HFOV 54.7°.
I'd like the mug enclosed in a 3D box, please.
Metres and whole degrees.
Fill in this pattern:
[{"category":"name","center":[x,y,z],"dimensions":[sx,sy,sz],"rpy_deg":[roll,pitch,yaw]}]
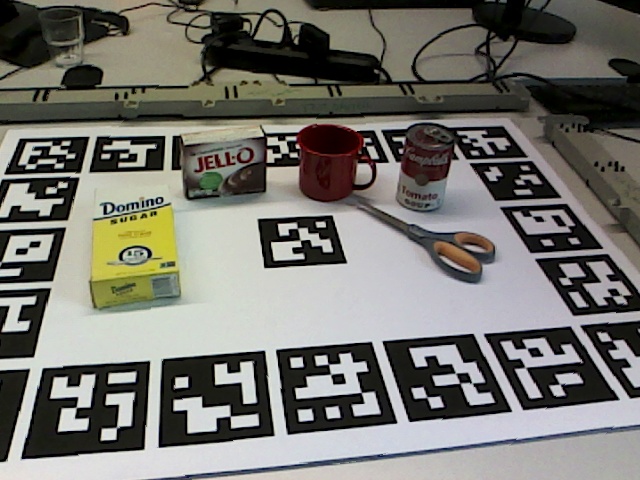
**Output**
[{"category":"mug","center":[0.021,-0.109,0.868],"dimensions":[0.093,0.081,0.118],"rpy_deg":[-33,51,-32]}]

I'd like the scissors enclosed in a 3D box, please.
[{"category":"scissors","center":[0.132,-0.002,0.800],"dimensions":[0.204,0.016,0.087],"rpy_deg":[31,57,26]}]

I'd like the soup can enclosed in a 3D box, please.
[{"category":"soup can","center":[0.142,-0.092,0.853],"dimensions":[0.068,0.102,0.068],"rpy_deg":[2,39,-2]}]

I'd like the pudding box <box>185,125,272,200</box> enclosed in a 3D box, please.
[{"category":"pudding box","center":[-0.125,-0.106,0.842],"dimensions":[0.113,0.090,0.039],"rpy_deg":[-9,49,-16]}]

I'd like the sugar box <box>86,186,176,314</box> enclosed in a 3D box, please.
[{"category":"sugar box","center":[-0.226,0.005,0.748],"dimensions":[0.092,0.045,0.177],"rpy_deg":[-7,43,-10]}]
